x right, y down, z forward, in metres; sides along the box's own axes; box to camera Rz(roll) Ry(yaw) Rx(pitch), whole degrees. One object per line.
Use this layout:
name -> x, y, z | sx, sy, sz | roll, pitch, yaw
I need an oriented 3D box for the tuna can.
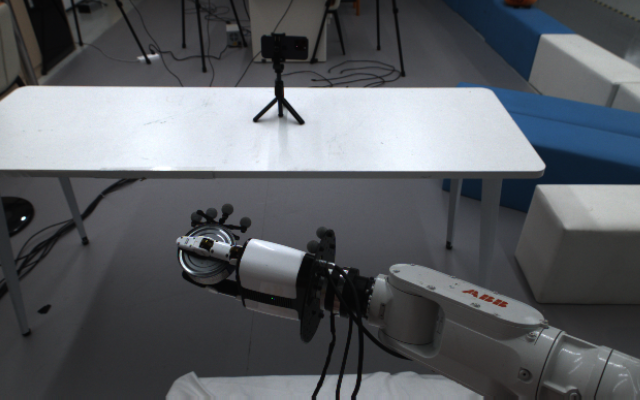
tuna can -> -0.162, 0.079, 0.708 | 0.085, 0.034, 0.085 | -3, 57, 4
